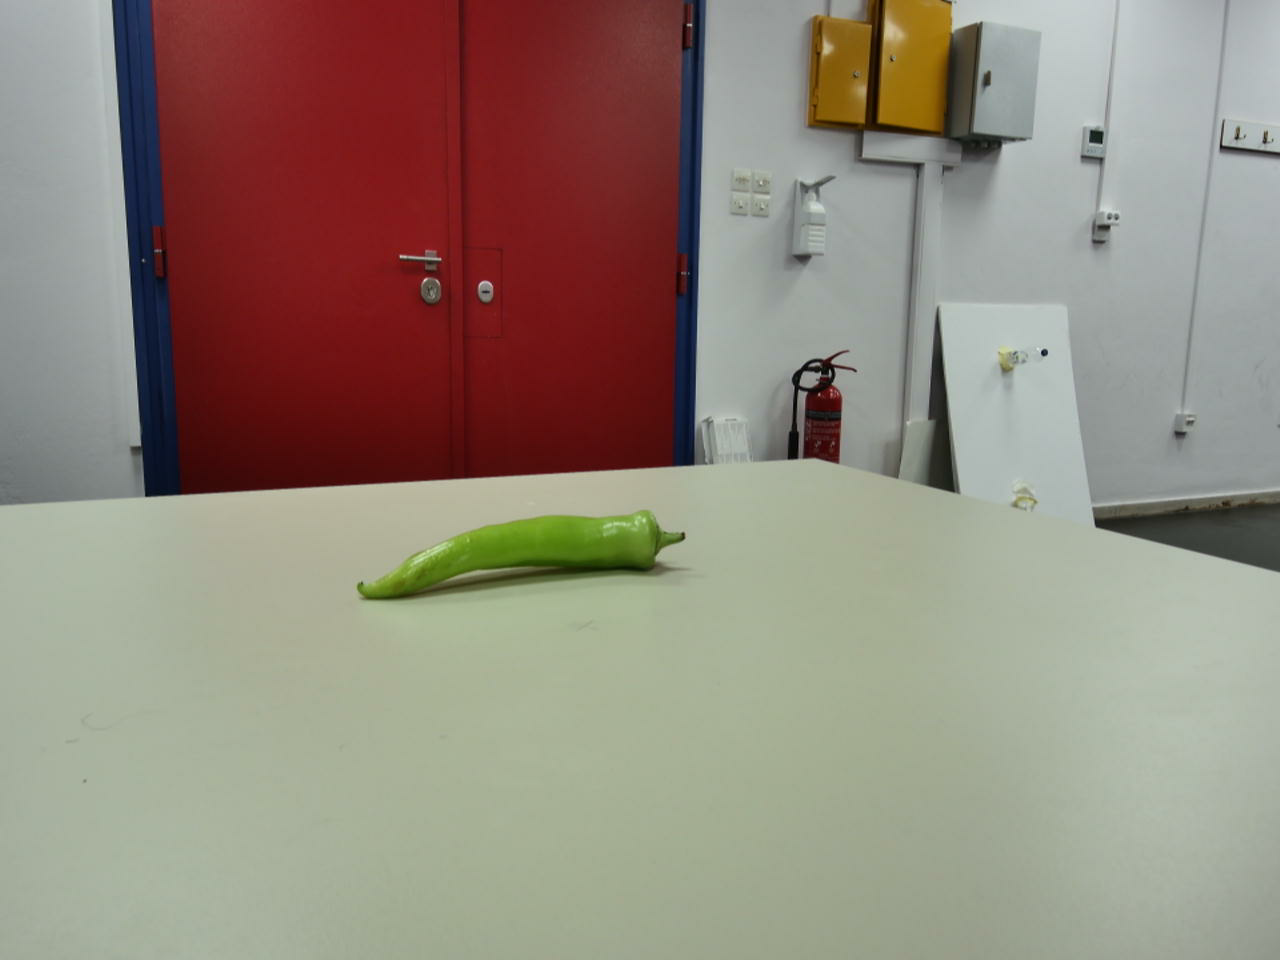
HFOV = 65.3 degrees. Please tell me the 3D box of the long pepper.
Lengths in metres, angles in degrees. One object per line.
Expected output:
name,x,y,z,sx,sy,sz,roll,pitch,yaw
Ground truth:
long pepper,-0.068,0.040,0.592,0.197,0.038,0.047,-3,8,-22
